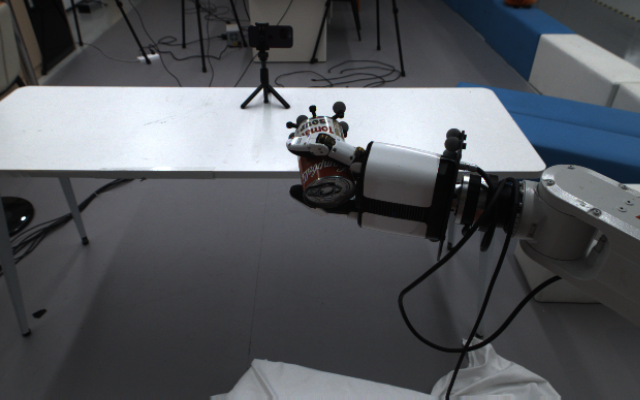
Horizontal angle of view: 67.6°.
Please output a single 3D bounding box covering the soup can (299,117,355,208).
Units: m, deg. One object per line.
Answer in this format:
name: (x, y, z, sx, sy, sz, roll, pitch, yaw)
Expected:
soup can: (0.007, -0.050, 0.627, 0.067, 0.067, 0.101, -5, 57, -10)
